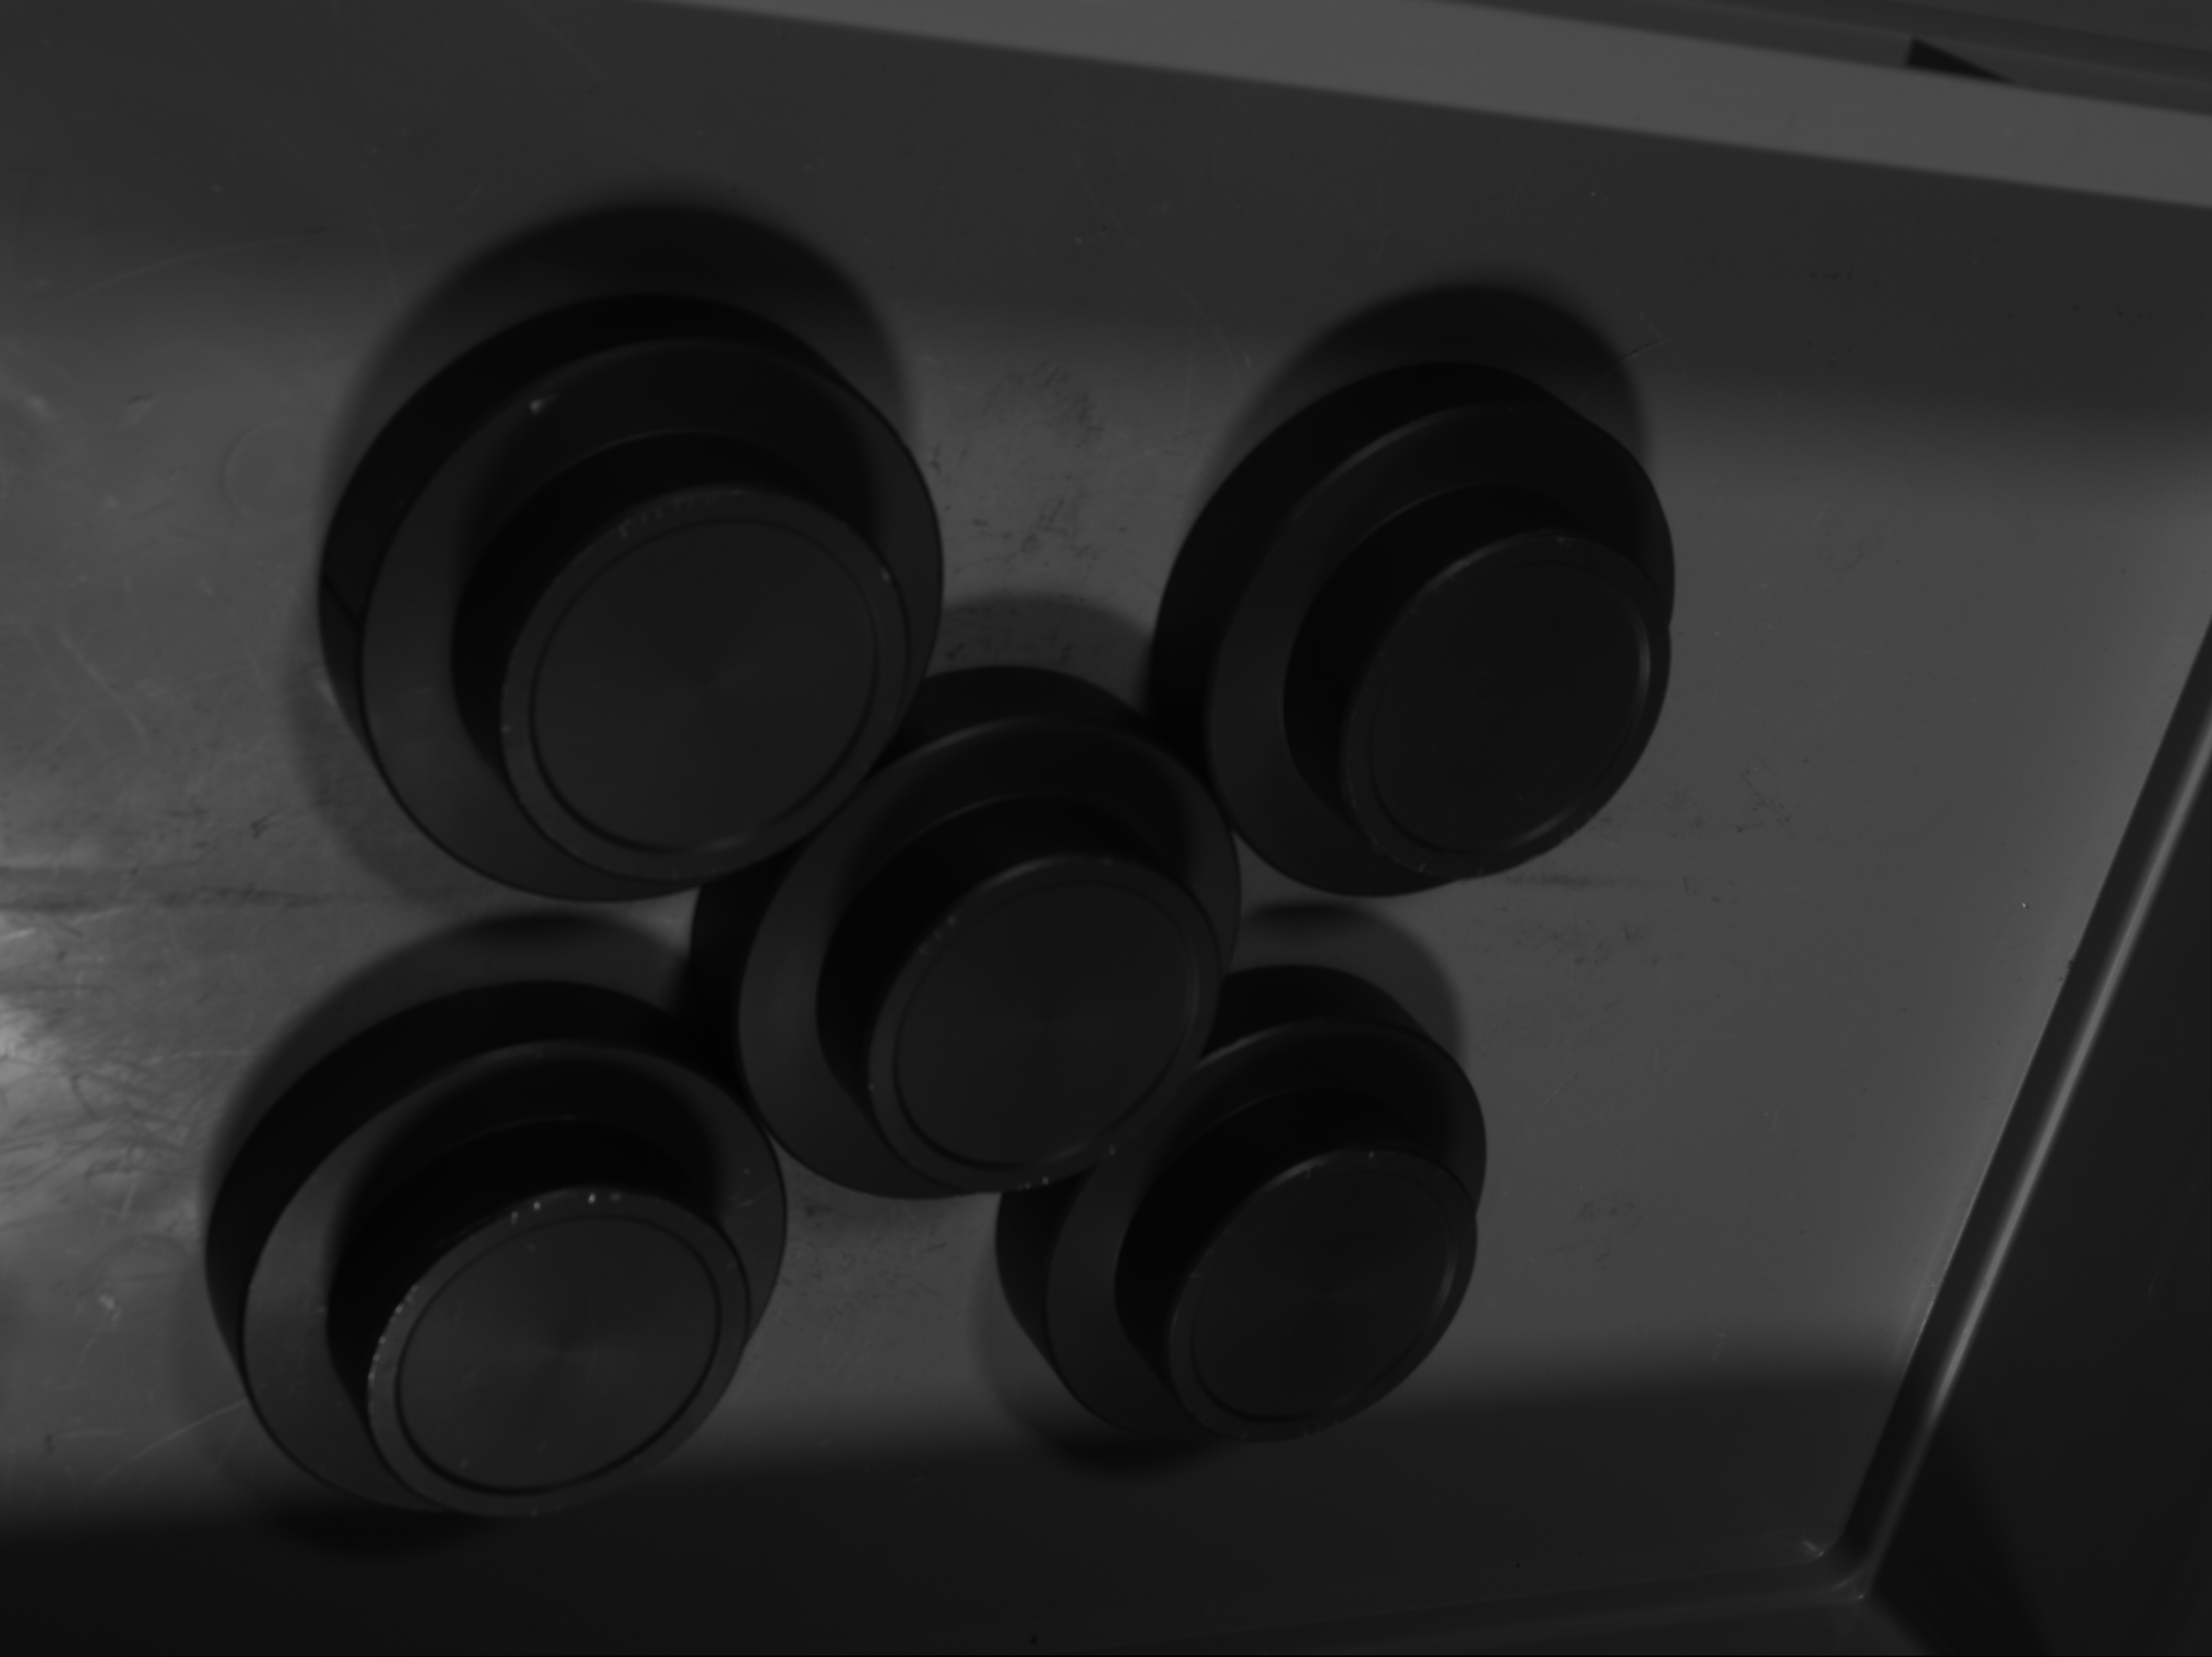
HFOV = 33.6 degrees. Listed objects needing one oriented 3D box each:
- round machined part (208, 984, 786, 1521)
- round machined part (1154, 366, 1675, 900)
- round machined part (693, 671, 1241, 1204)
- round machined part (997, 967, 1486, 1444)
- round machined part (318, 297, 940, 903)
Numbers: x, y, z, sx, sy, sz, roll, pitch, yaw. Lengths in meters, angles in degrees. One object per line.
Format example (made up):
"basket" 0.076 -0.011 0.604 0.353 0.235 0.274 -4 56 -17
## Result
"round machined part" -0.100 0.079 0.629 0.098 0.042 0.098 -15 125 -22
"round machined part" 0.061 -0.030 0.656 0.098 0.042 0.098 -15 125 -22
"round machined part" -0.019 0.025 0.642 0.098 0.042 0.098 -15 125 -22
"round machined part" 0.032 0.079 0.706 0.098 0.042 0.098 -15 125 -22
"round machined part" -0.071 -0.031 0.579 0.098 0.042 0.098 -15 125 -22
